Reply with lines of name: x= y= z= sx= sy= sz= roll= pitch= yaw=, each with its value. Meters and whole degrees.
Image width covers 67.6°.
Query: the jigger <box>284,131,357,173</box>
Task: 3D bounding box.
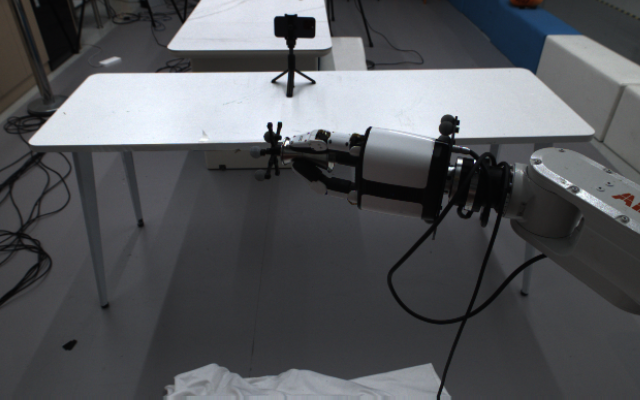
jigger: x=-0.010 y=-0.068 z=0.665 sx=0.071 sy=0.043 sz=0.043 roll=8 pitch=35 yaw=14
